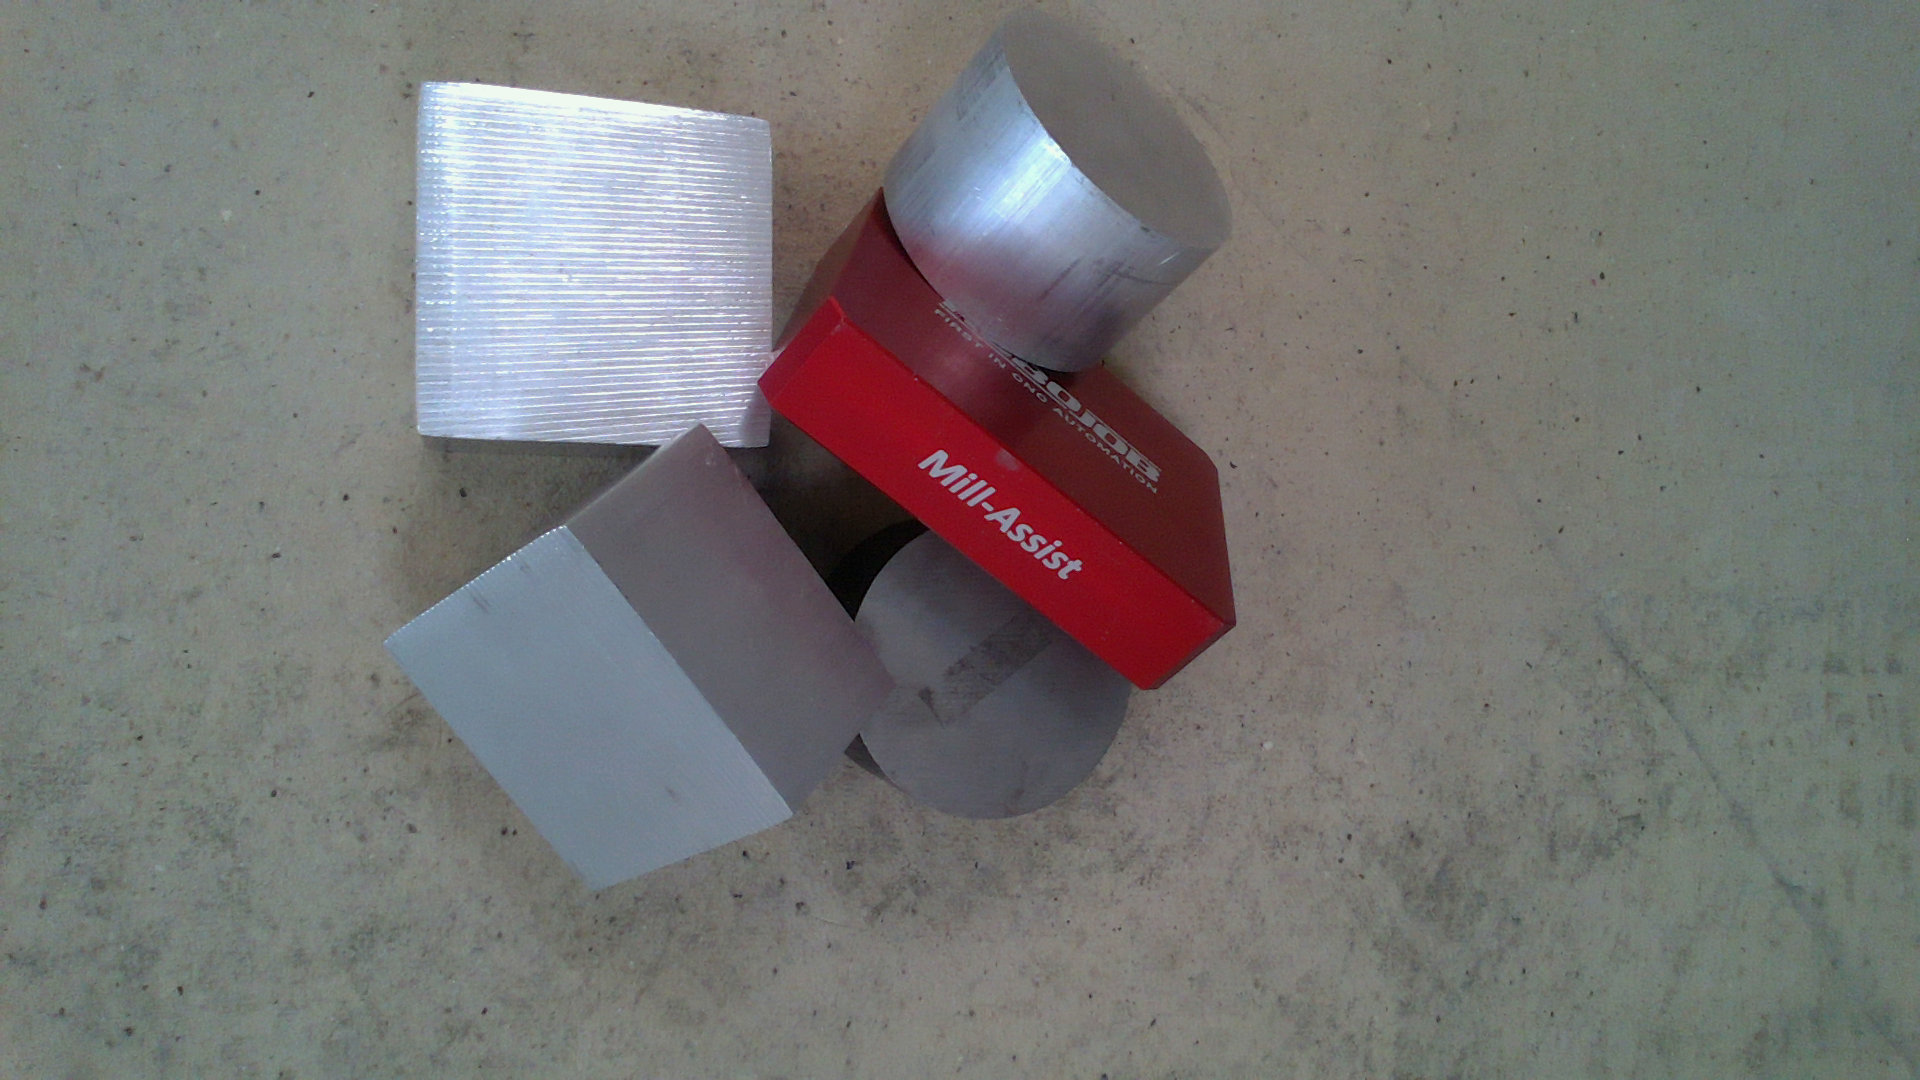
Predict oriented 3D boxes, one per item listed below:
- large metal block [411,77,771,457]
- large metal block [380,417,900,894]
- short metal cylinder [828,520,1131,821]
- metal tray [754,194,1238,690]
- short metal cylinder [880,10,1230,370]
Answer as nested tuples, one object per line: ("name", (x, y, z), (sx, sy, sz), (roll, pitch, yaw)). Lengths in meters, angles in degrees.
("large metal block", (-0.093, -0.063, 0.344), (0.080, 0.050, 0.080), (1, 90, -20))
("large metal block", (-0.076, 0.030, 0.329), (0.080, 0.080, 0.050), (55, 38, -12))
("short metal cylinder", (0.001, 0.033, 0.381), (0.080, 0.050, 0.080), (0, 90, -20))
("metal tray", (0.015, -0.029, 0.366), (0.130, 0.090, 0.030), (37, 118, -16))
("short metal cylinder", (0.026, -0.093, 0.369), (0.080, 0.050, 0.080), (28, 41, -27))
